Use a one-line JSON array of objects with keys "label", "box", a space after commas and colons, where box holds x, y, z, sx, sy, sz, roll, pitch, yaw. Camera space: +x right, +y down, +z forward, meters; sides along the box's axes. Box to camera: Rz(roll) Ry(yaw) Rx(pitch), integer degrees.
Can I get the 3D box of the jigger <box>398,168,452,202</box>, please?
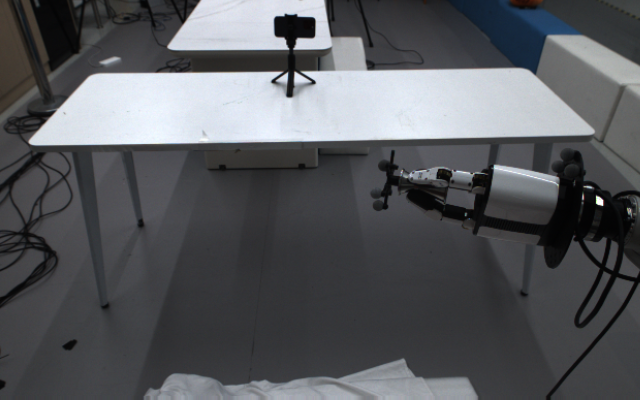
[{"label": "jigger", "box": [0.156, -0.026, 0.696, 0.071, 0.043, 0.043, 10, 35, 15]}]
